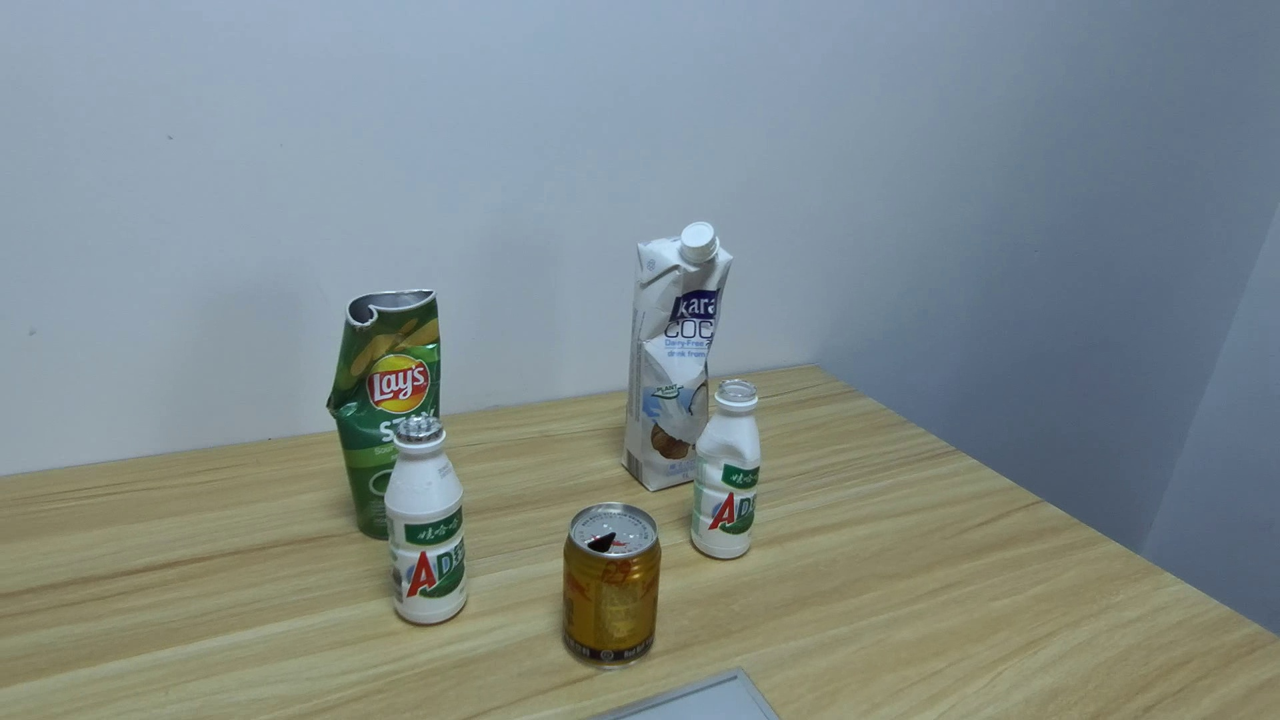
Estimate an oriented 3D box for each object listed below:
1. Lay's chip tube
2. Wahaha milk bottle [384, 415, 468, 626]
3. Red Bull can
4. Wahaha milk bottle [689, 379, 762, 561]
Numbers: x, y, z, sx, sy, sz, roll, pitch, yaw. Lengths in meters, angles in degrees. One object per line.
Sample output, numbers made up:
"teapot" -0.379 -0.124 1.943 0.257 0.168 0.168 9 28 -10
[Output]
"Lay's chip tube" -0.205 0.046 0.584 0.069 0.201 0.077 5 25 5
"Wahaha milk bottle" -0.150 0.113 0.495 0.053 0.147 0.053 2 22 -1
"Red Bull can" -0.019 0.152 0.483 0.067 0.093 0.067 4 23 -1
"Wahaha milk bottle" 0.072 0.090 0.575 0.055 0.149 0.055 3 24 -1
